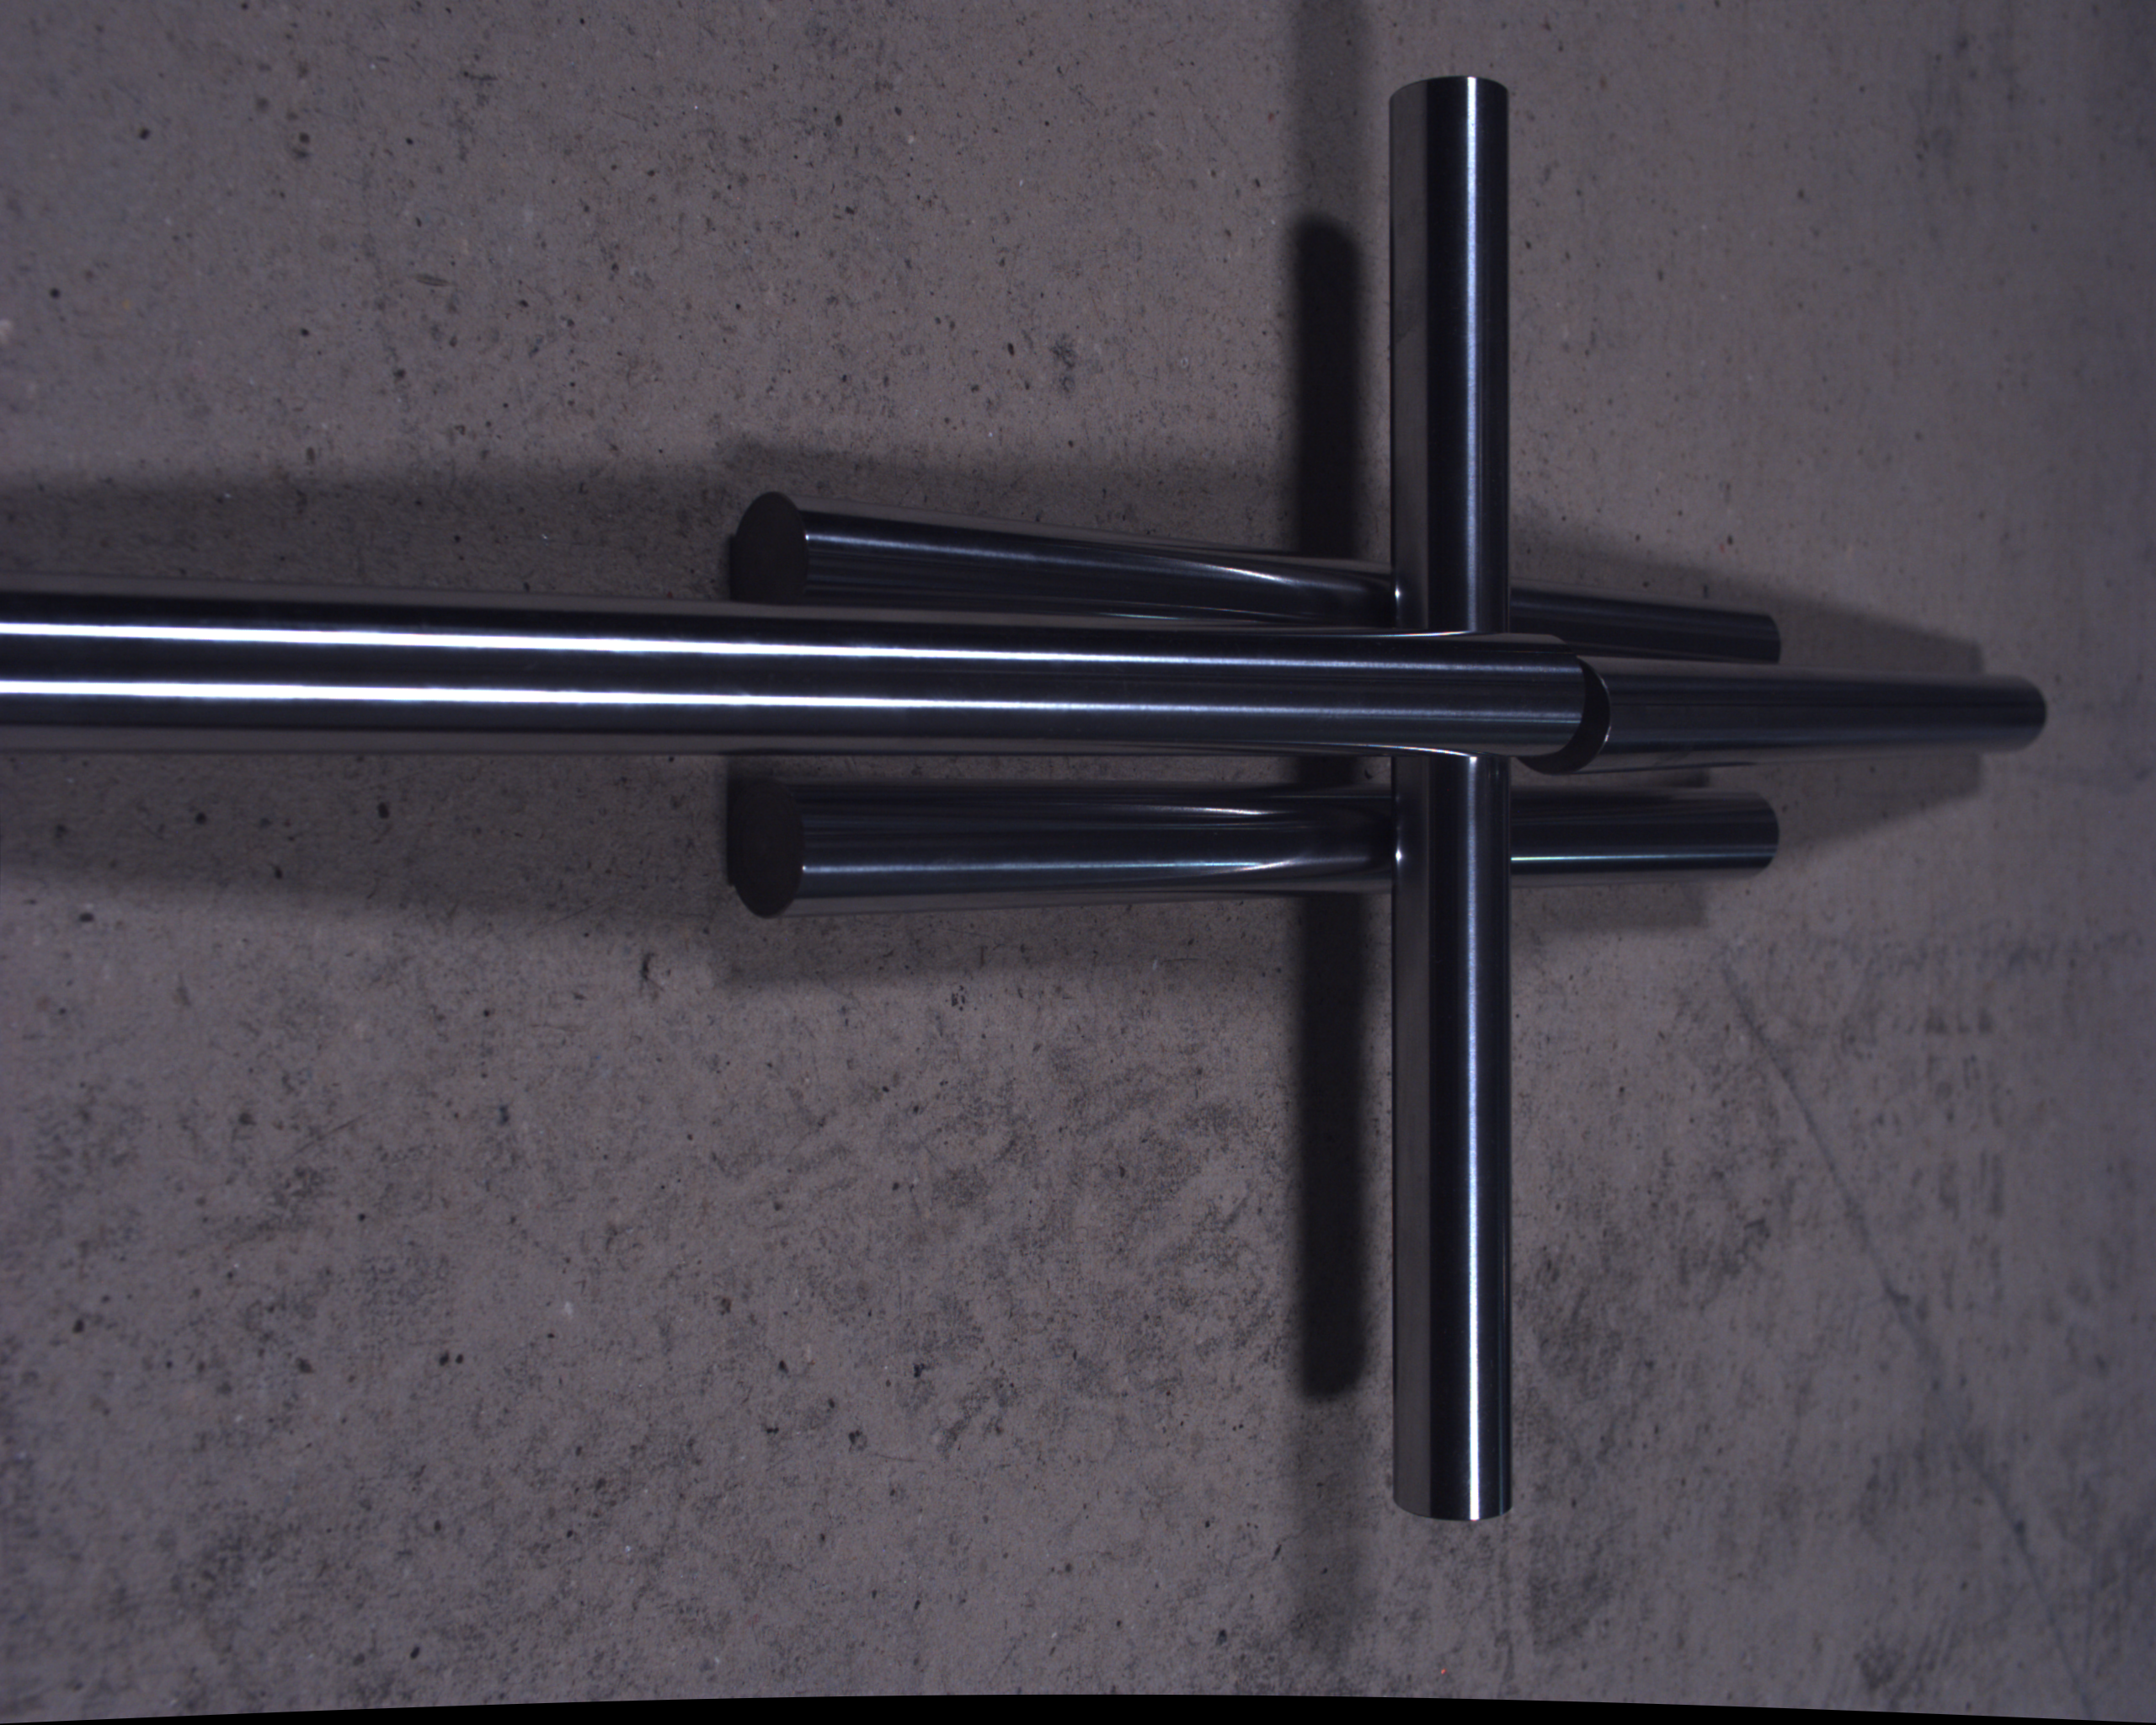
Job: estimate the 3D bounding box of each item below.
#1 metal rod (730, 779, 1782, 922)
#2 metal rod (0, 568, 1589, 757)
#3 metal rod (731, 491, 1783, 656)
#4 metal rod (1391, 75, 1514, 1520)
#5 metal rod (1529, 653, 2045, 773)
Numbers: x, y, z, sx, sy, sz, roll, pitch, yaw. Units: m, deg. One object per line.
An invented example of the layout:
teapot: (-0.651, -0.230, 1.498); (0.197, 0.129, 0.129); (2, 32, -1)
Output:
metal rod: (0.062, -0.005, 0.460); (0.302, 0.025, 0.025); (-1, 91, -40)
metal rod: (-0.035, -0.030, 0.345); (0.303, 0.025, 0.025); (-2, 91, -31)
metal rod: (0.062, -0.055, 0.459); (0.302, 0.025, 0.025); (-1, 91, -40)
metal rod: (0.079, -0.013, 0.443); (0.025, 0.025, 0.298); (0, 90, -40)
metal rod: (0.194, -0.039, 0.540); (0.302, 0.025, 0.025); (-5, 94, -50)
